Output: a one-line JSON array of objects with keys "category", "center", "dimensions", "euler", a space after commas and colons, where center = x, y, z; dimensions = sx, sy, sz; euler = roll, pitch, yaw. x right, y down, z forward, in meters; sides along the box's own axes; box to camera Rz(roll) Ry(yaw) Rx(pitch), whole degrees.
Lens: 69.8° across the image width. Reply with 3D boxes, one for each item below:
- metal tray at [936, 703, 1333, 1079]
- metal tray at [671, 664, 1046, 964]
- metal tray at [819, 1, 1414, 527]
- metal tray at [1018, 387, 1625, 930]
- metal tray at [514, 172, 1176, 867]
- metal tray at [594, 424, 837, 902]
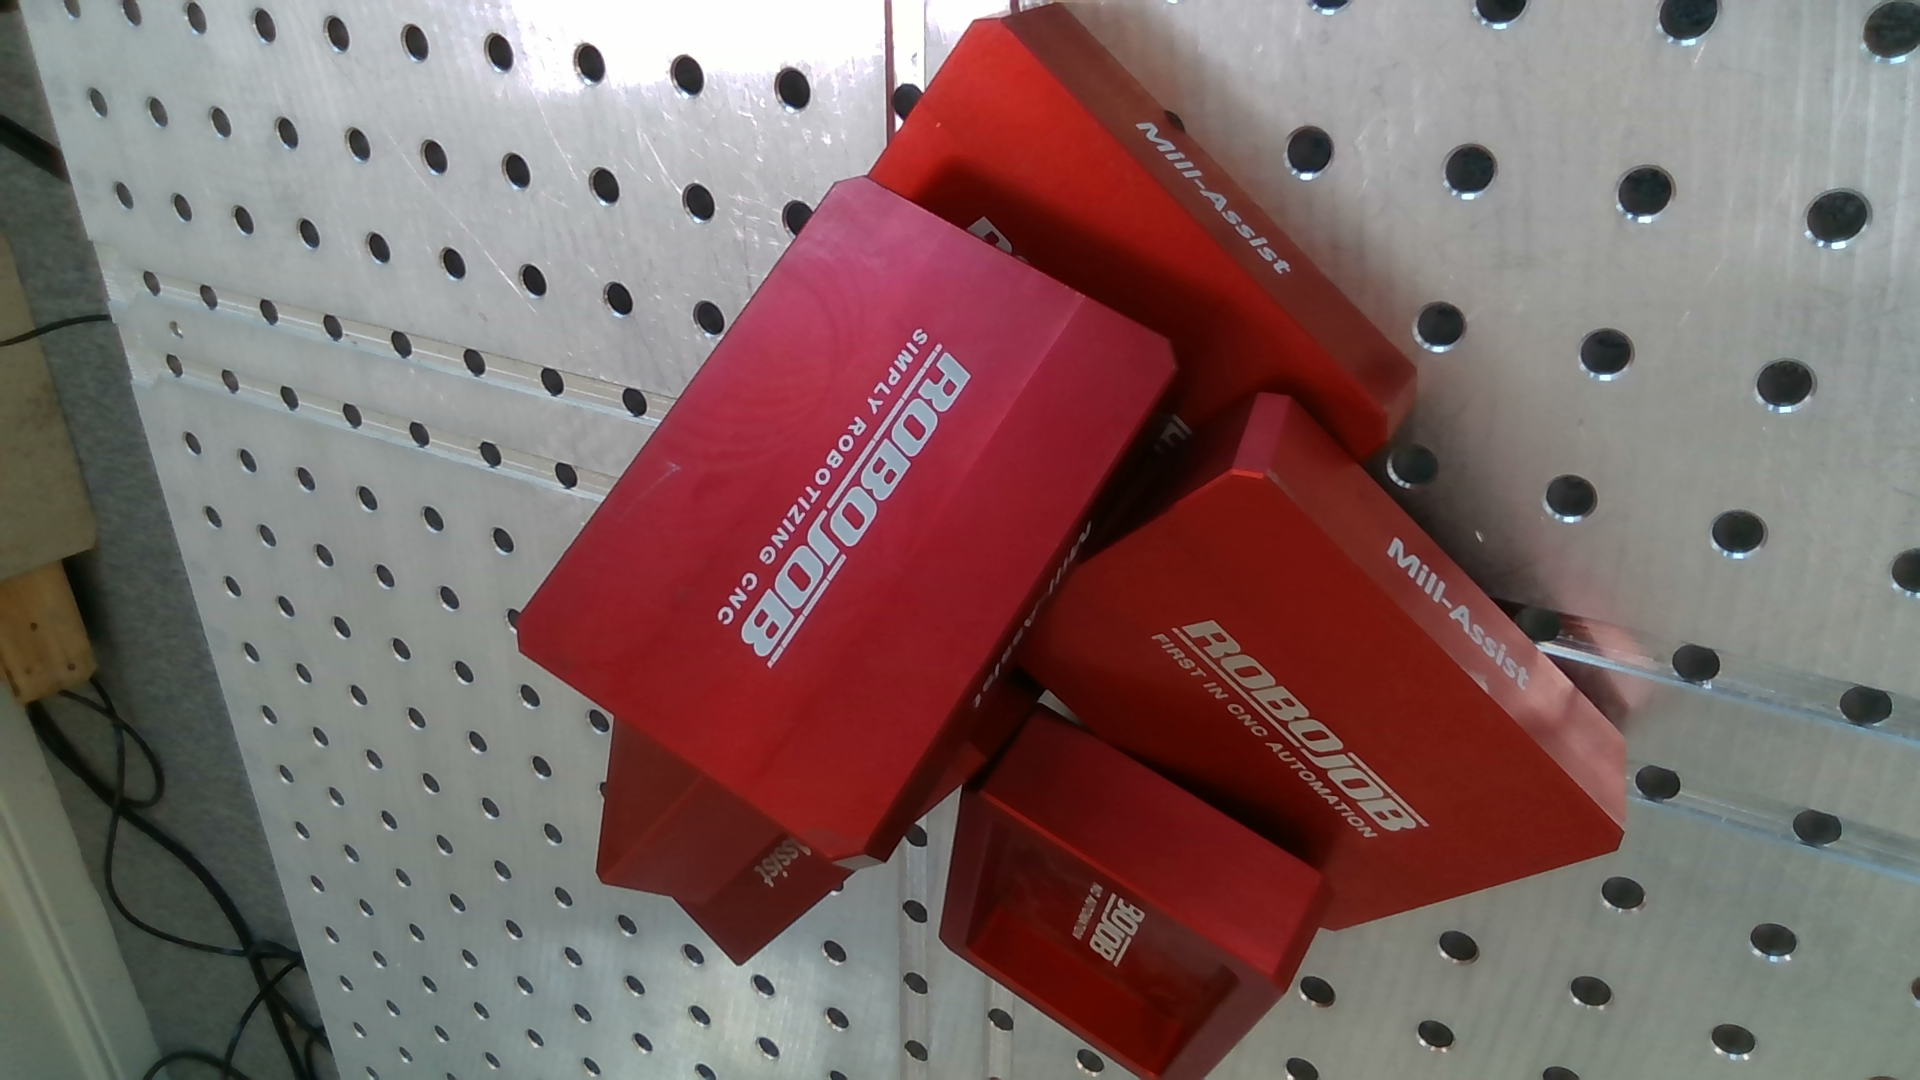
[{"category": "metal tray", "center": [0.041, 0.107, 0.390], "dimensions": [0.090, 0.030, 0.130], "euler": [30, 150, 15]}, {"category": "metal tray", "center": [-0.021, 0.060, 0.394], "dimensions": [0.030, 0.090, 0.130], "euler": [46, 130, 2]}, {"category": "metal tray", "center": [0.033, -0.052, 0.339], "dimensions": [0.130, 0.030, 0.090], "euler": [46, 130, 2]}, {"category": "metal tray", "center": [0.083, 0.035, 0.333], "dimensions": [0.130, 0.030, 0.090], "euler": [43, 134, -14]}, {"category": "metal tray", "center": [-0.023, -0.006, 0.304], "dimensions": [0.090, 0.130, 0.030], "euler": [31, 169, 14]}, {"category": "metal tray", "center": [-0.064, 0.021, 0.380], "dimensions": [0.030, 0.130, 0.090], "euler": [20, 136, -27]}]
